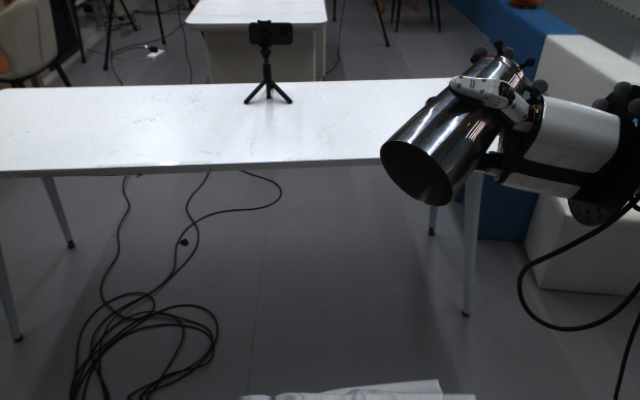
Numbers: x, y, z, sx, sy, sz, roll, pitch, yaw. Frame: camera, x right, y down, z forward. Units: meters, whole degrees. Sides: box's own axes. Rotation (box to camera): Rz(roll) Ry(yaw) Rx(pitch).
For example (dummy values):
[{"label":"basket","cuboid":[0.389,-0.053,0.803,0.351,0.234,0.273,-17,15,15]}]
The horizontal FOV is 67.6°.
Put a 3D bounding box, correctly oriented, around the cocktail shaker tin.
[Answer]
[{"label":"cocktail shaker tin","cuboid":[0.155,-0.089,0.535,0.093,0.093,0.170,32,66,35]}]
